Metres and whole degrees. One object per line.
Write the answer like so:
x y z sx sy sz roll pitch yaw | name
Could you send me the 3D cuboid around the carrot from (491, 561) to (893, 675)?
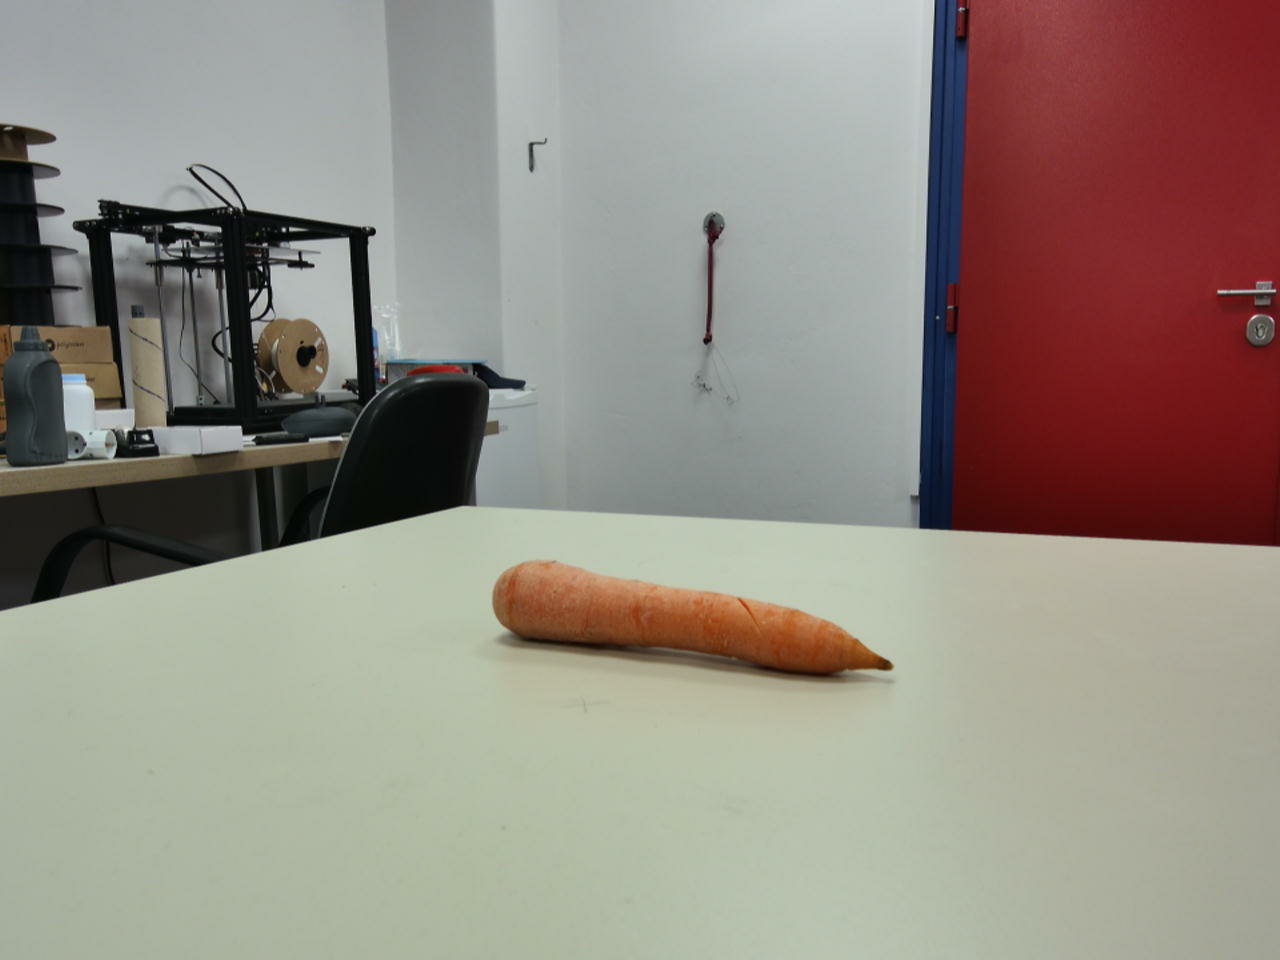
0.019 0.062 0.465 0.196 0.041 0.039 2 4 24 | carrot
